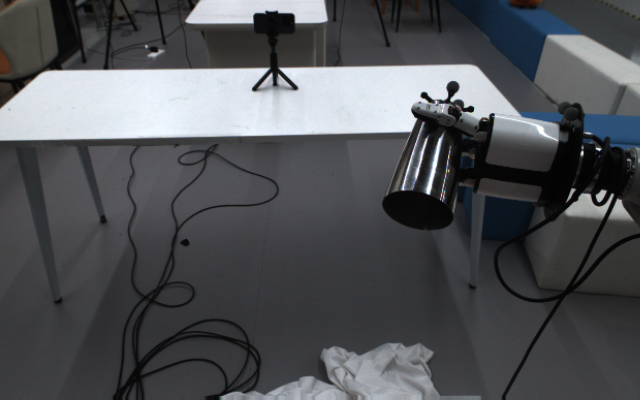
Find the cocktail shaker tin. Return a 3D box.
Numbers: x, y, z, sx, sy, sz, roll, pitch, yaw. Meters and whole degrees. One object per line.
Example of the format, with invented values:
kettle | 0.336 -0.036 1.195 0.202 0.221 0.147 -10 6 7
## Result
cocktail shaker tin | 0.151 -0.058 0.664 0.093 0.093 0.170 13 59 16
